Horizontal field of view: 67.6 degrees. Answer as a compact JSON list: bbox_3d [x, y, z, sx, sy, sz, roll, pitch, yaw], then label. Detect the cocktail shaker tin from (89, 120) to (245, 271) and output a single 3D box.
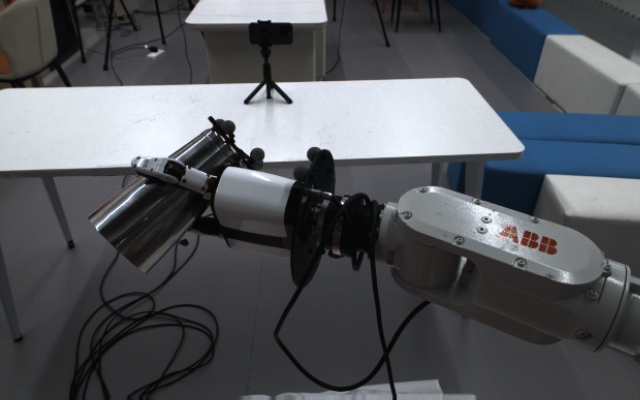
[{"bbox_3d":[-0.175,-0.009,0.578,0.170,0.093,0.093,-43,50,-14],"label":"cocktail shaker tin"}]
